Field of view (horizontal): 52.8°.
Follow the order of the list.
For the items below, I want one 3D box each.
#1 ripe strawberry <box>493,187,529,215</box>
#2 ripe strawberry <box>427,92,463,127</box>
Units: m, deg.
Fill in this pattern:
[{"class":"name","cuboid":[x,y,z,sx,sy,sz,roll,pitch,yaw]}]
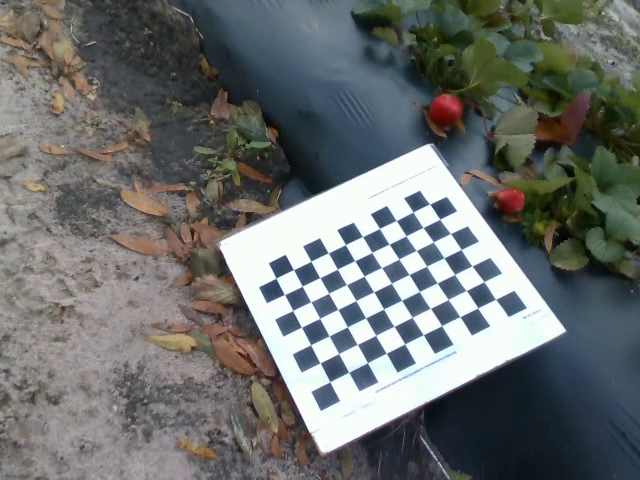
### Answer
[{"class":"ripe strawberry","cuboid":[0.234,-0.049,0.781,0.042,0.041,0.037,10,-36,-45]},{"class":"ripe strawberry","cuboid":[0.172,-0.174,0.846,0.046,0.043,0.065,-22,14,-2]}]
